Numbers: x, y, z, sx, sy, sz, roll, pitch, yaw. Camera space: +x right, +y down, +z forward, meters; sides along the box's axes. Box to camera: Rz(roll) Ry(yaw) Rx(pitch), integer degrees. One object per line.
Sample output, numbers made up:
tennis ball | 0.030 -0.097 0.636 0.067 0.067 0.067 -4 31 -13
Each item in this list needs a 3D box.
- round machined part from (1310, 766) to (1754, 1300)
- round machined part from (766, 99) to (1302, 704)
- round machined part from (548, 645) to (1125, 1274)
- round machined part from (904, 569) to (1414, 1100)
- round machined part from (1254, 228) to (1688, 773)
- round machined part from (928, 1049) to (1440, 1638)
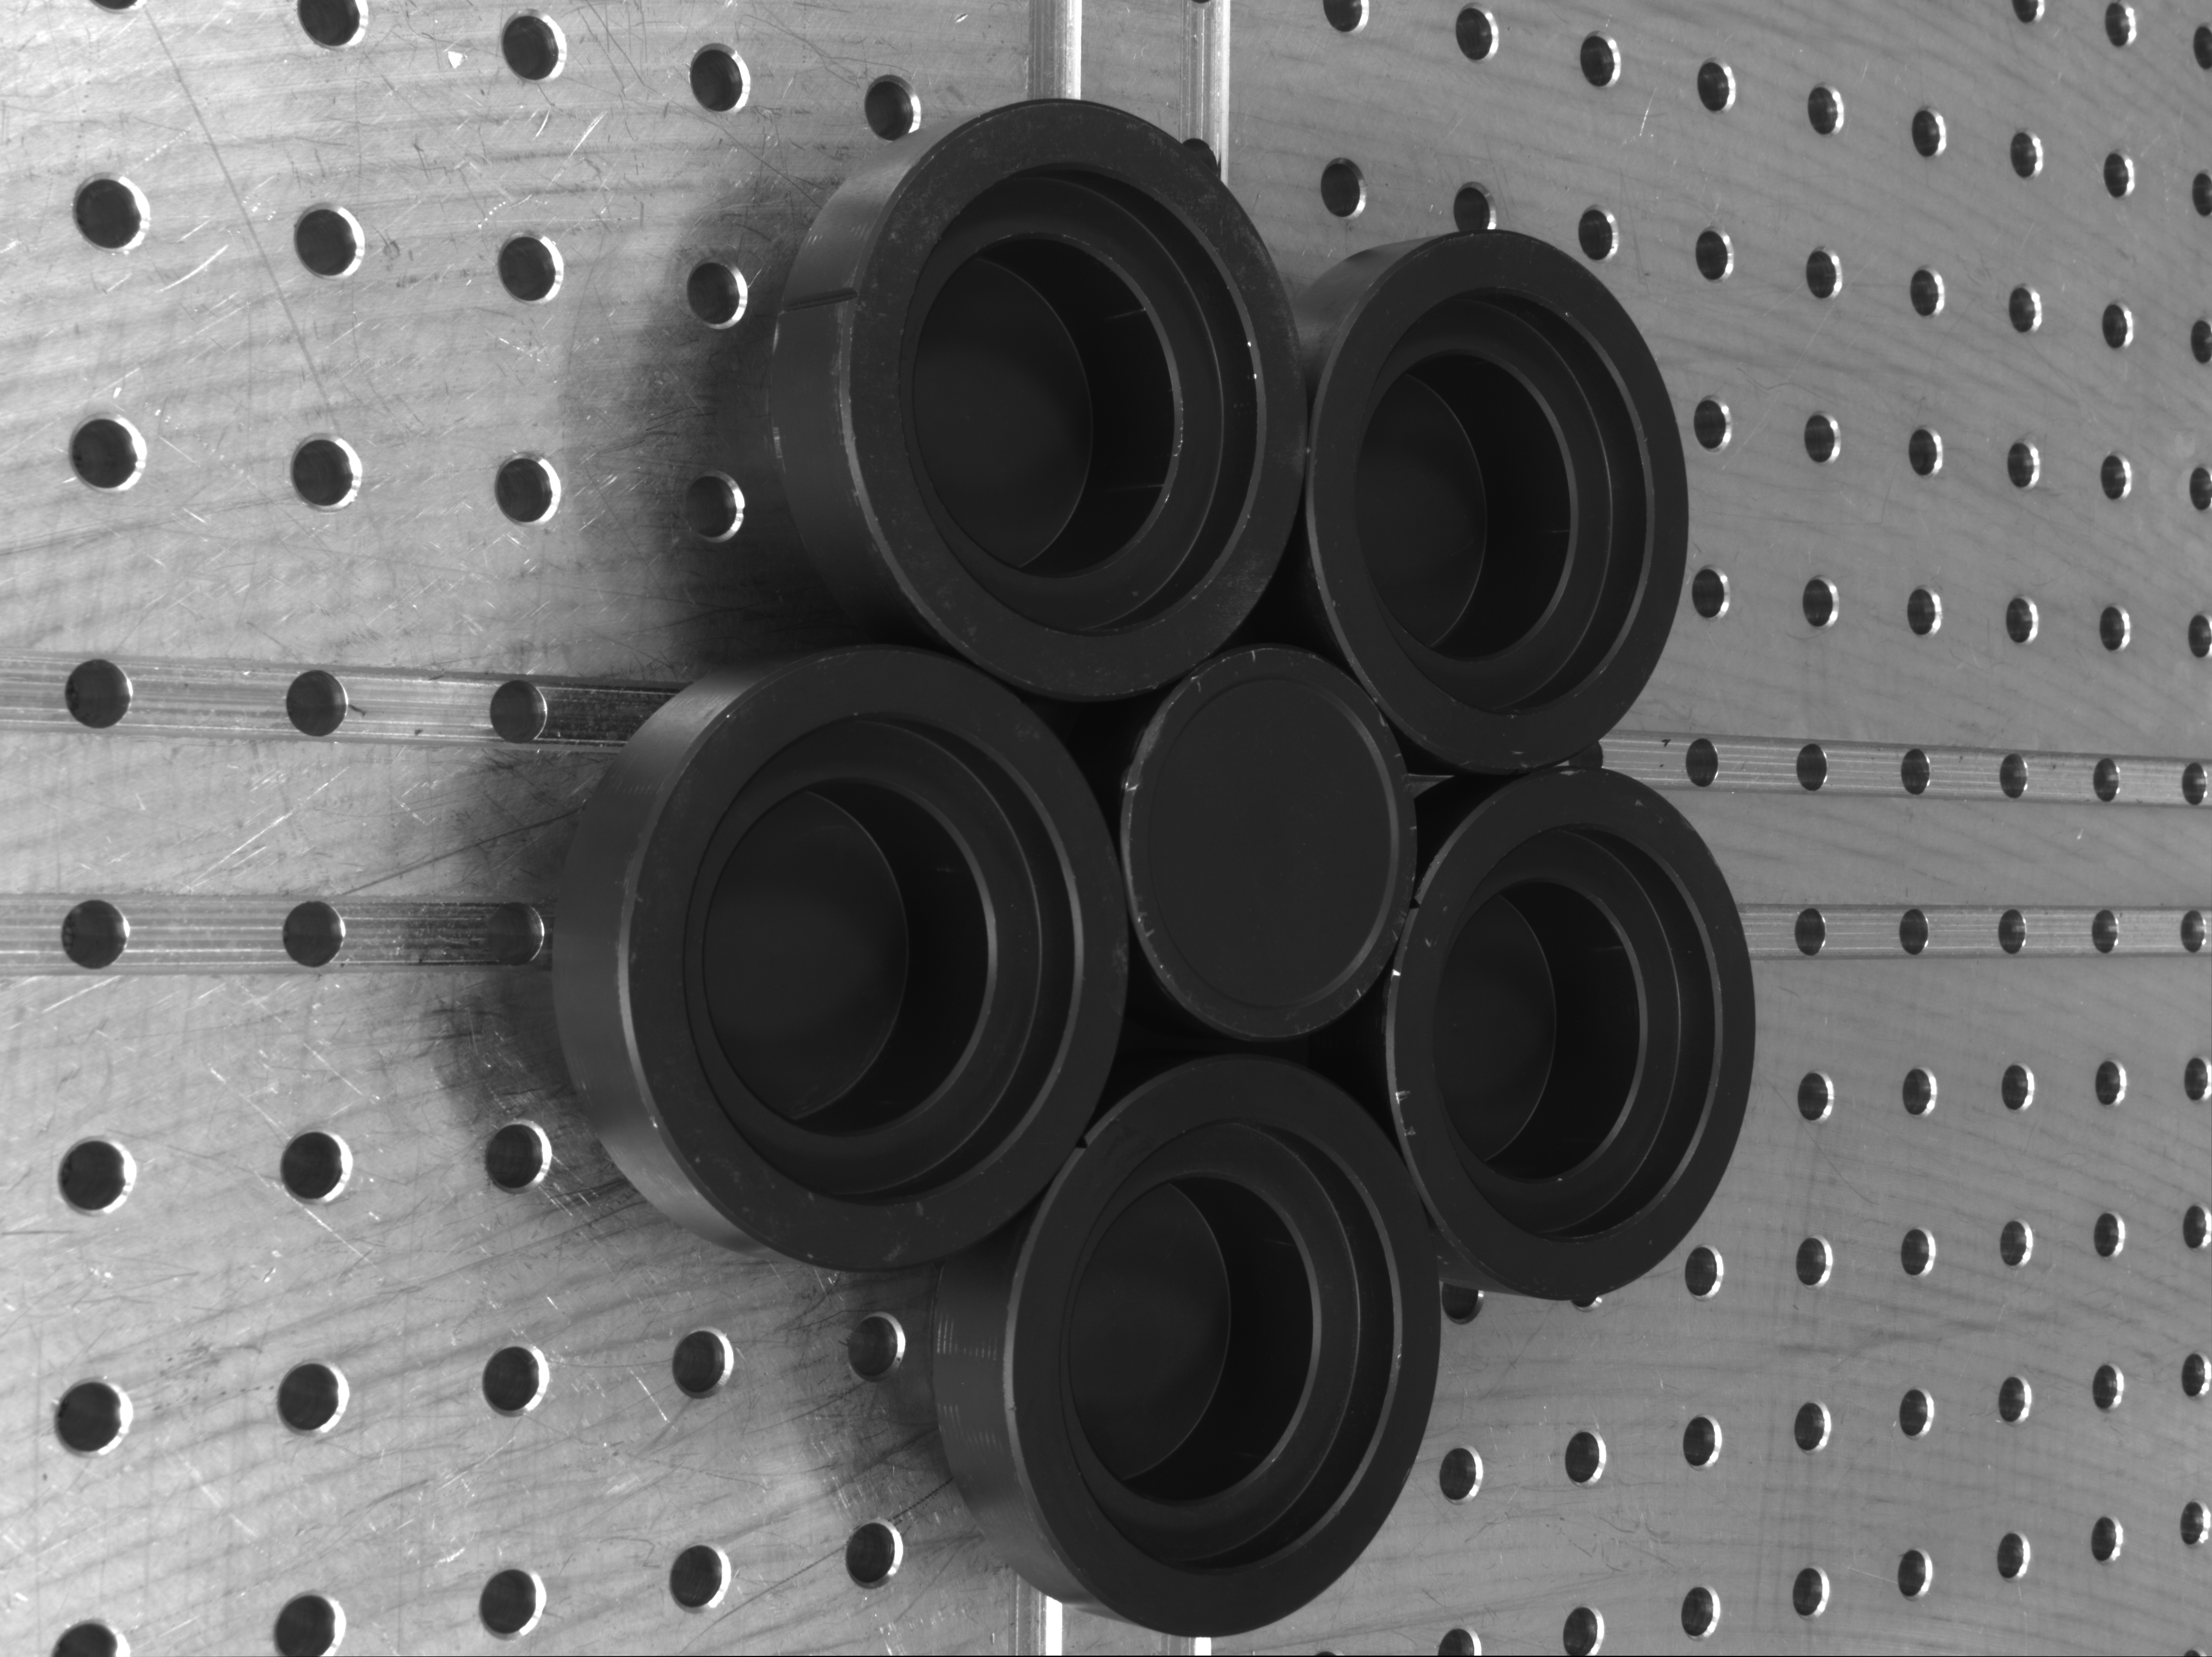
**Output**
round machined part | 0.074 0.037 0.689 0.098 0.042 0.098 0 90 -40
round machined part | -0.017 -0.070 0.614 0.098 0.042 0.098 0 90 -40
round machined part | -0.047 0.020 0.588 0.098 0.042 0.098 0 90 -40
round machined part | 0.015 0.003 0.640 0.098 0.042 0.098 0 90 -40
round machined part | 0.059 -0.059 0.677 0.098 0.042 0.098 0 90 -40
round machined part | 0.009 0.087 0.635 0.098 0.042 0.098 0 90 -40
